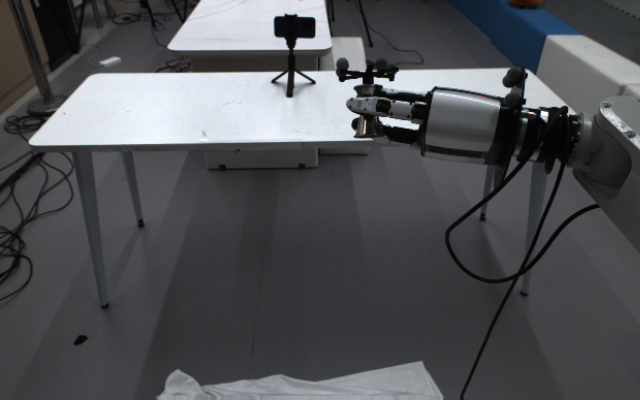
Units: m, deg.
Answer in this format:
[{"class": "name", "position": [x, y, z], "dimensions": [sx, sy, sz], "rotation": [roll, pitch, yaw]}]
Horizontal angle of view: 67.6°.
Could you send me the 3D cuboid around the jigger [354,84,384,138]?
[{"class": "jigger", "position": [0.066, -0.121, 0.663], "dimensions": [0.043, 0.071, 0.043], "rotation": [-2, 3, 0]}]
